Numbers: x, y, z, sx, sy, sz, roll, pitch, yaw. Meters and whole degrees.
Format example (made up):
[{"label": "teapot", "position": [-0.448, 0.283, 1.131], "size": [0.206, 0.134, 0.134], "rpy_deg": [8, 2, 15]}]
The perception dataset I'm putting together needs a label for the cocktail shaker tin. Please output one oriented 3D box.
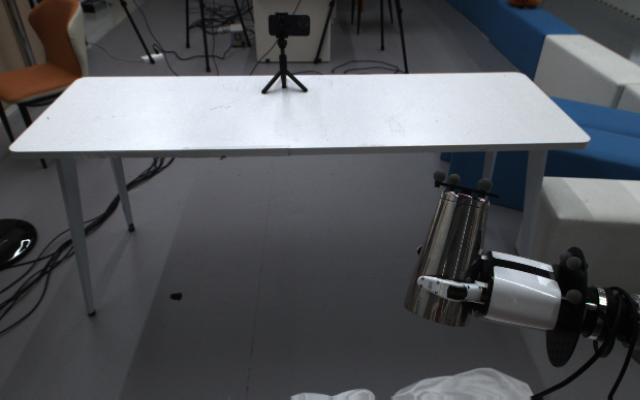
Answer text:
[{"label": "cocktail shaker tin", "position": [0.182, 0.076, 0.671], "size": [0.093, 0.170, 0.093], "rpy_deg": [13, 4, -1]}]
